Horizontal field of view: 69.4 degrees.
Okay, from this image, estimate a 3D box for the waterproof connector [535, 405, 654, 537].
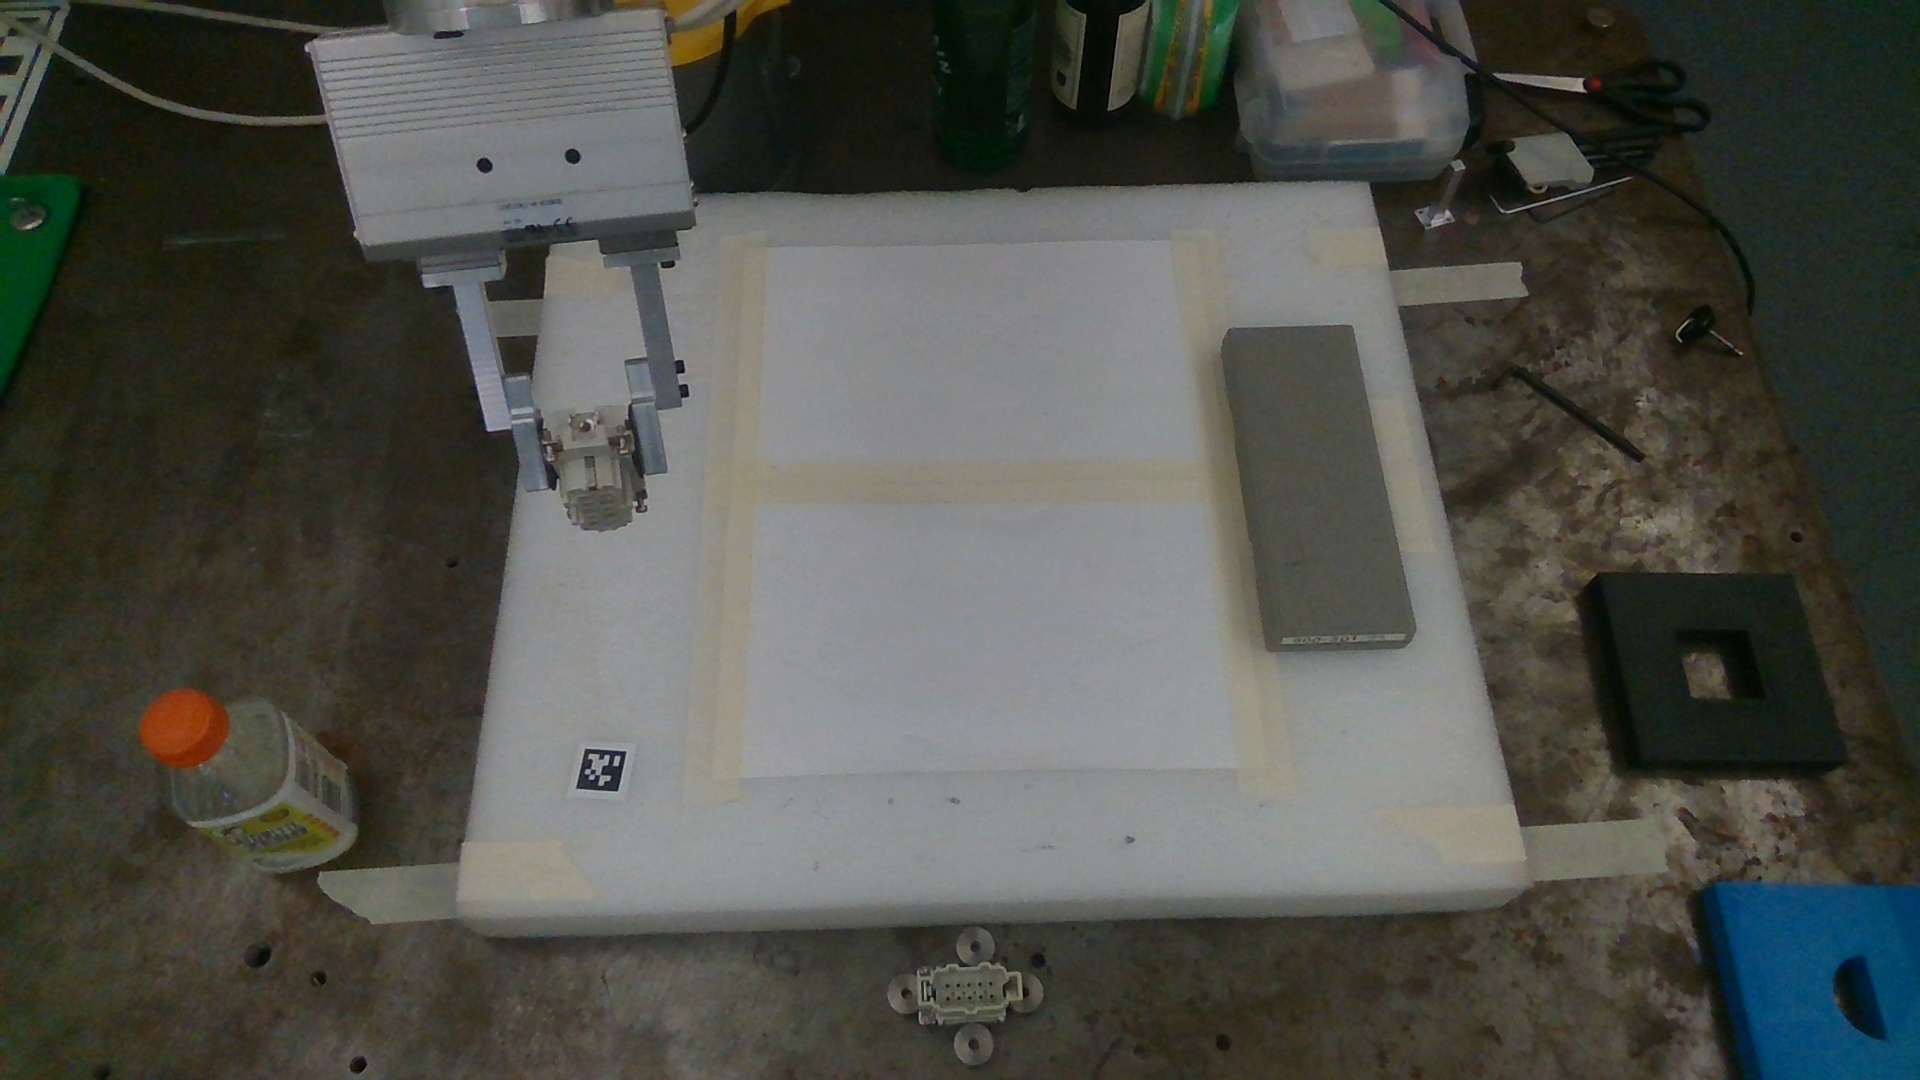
[{"bbox_3d":[-0.149,-0.027,0.568,0.037,0.069,0.038,-8,71,-5],"label":"waterproof connector"}]
